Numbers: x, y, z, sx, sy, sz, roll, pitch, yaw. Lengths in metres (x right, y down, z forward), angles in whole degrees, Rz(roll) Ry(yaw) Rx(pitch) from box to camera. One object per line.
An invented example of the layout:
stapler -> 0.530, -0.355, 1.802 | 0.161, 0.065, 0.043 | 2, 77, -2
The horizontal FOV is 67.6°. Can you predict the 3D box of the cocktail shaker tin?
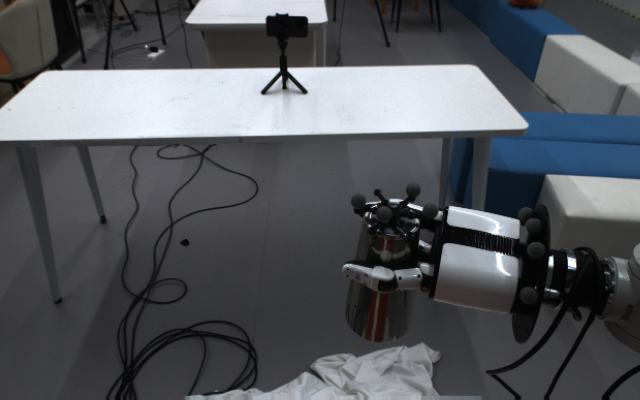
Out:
cocktail shaker tin -> 0.085, 0.084, 0.607 | 0.093, 0.170, 0.093 | 1, 39, -1
